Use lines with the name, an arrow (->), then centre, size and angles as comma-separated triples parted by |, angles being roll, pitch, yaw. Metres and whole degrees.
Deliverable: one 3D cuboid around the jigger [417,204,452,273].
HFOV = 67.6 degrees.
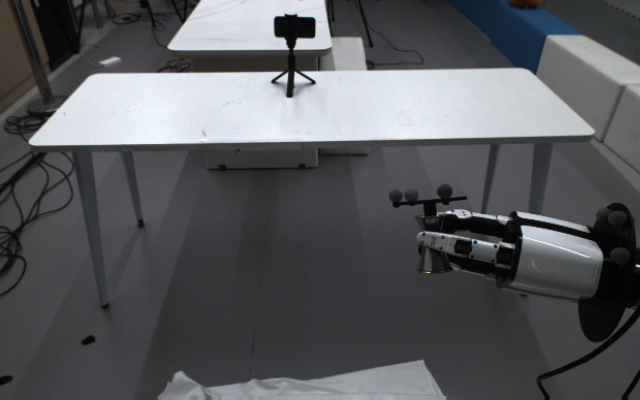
jigger -> 0.137, 0.051, 0.591 | 0.043, 0.071, 0.043 | -4, 1, 0
